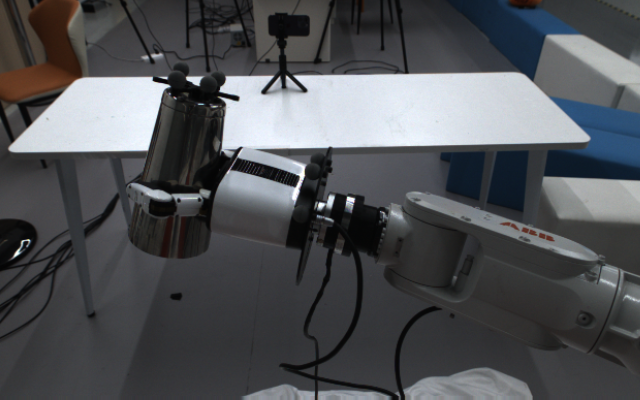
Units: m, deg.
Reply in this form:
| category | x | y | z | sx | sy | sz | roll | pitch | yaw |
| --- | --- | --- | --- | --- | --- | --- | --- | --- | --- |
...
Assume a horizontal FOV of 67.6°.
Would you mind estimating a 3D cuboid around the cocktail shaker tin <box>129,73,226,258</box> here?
| category | x | y | z | sx | sy | sz | roll | pitch | yaw |
| --- | --- | --- | --- | --- | --- | --- | --- | --- | --- |
| cocktail shaker tin | -0.152 | -0.031 | 0.537 | 0.093 | 0.170 | 0.093 | 15 | 20 | -5 |
